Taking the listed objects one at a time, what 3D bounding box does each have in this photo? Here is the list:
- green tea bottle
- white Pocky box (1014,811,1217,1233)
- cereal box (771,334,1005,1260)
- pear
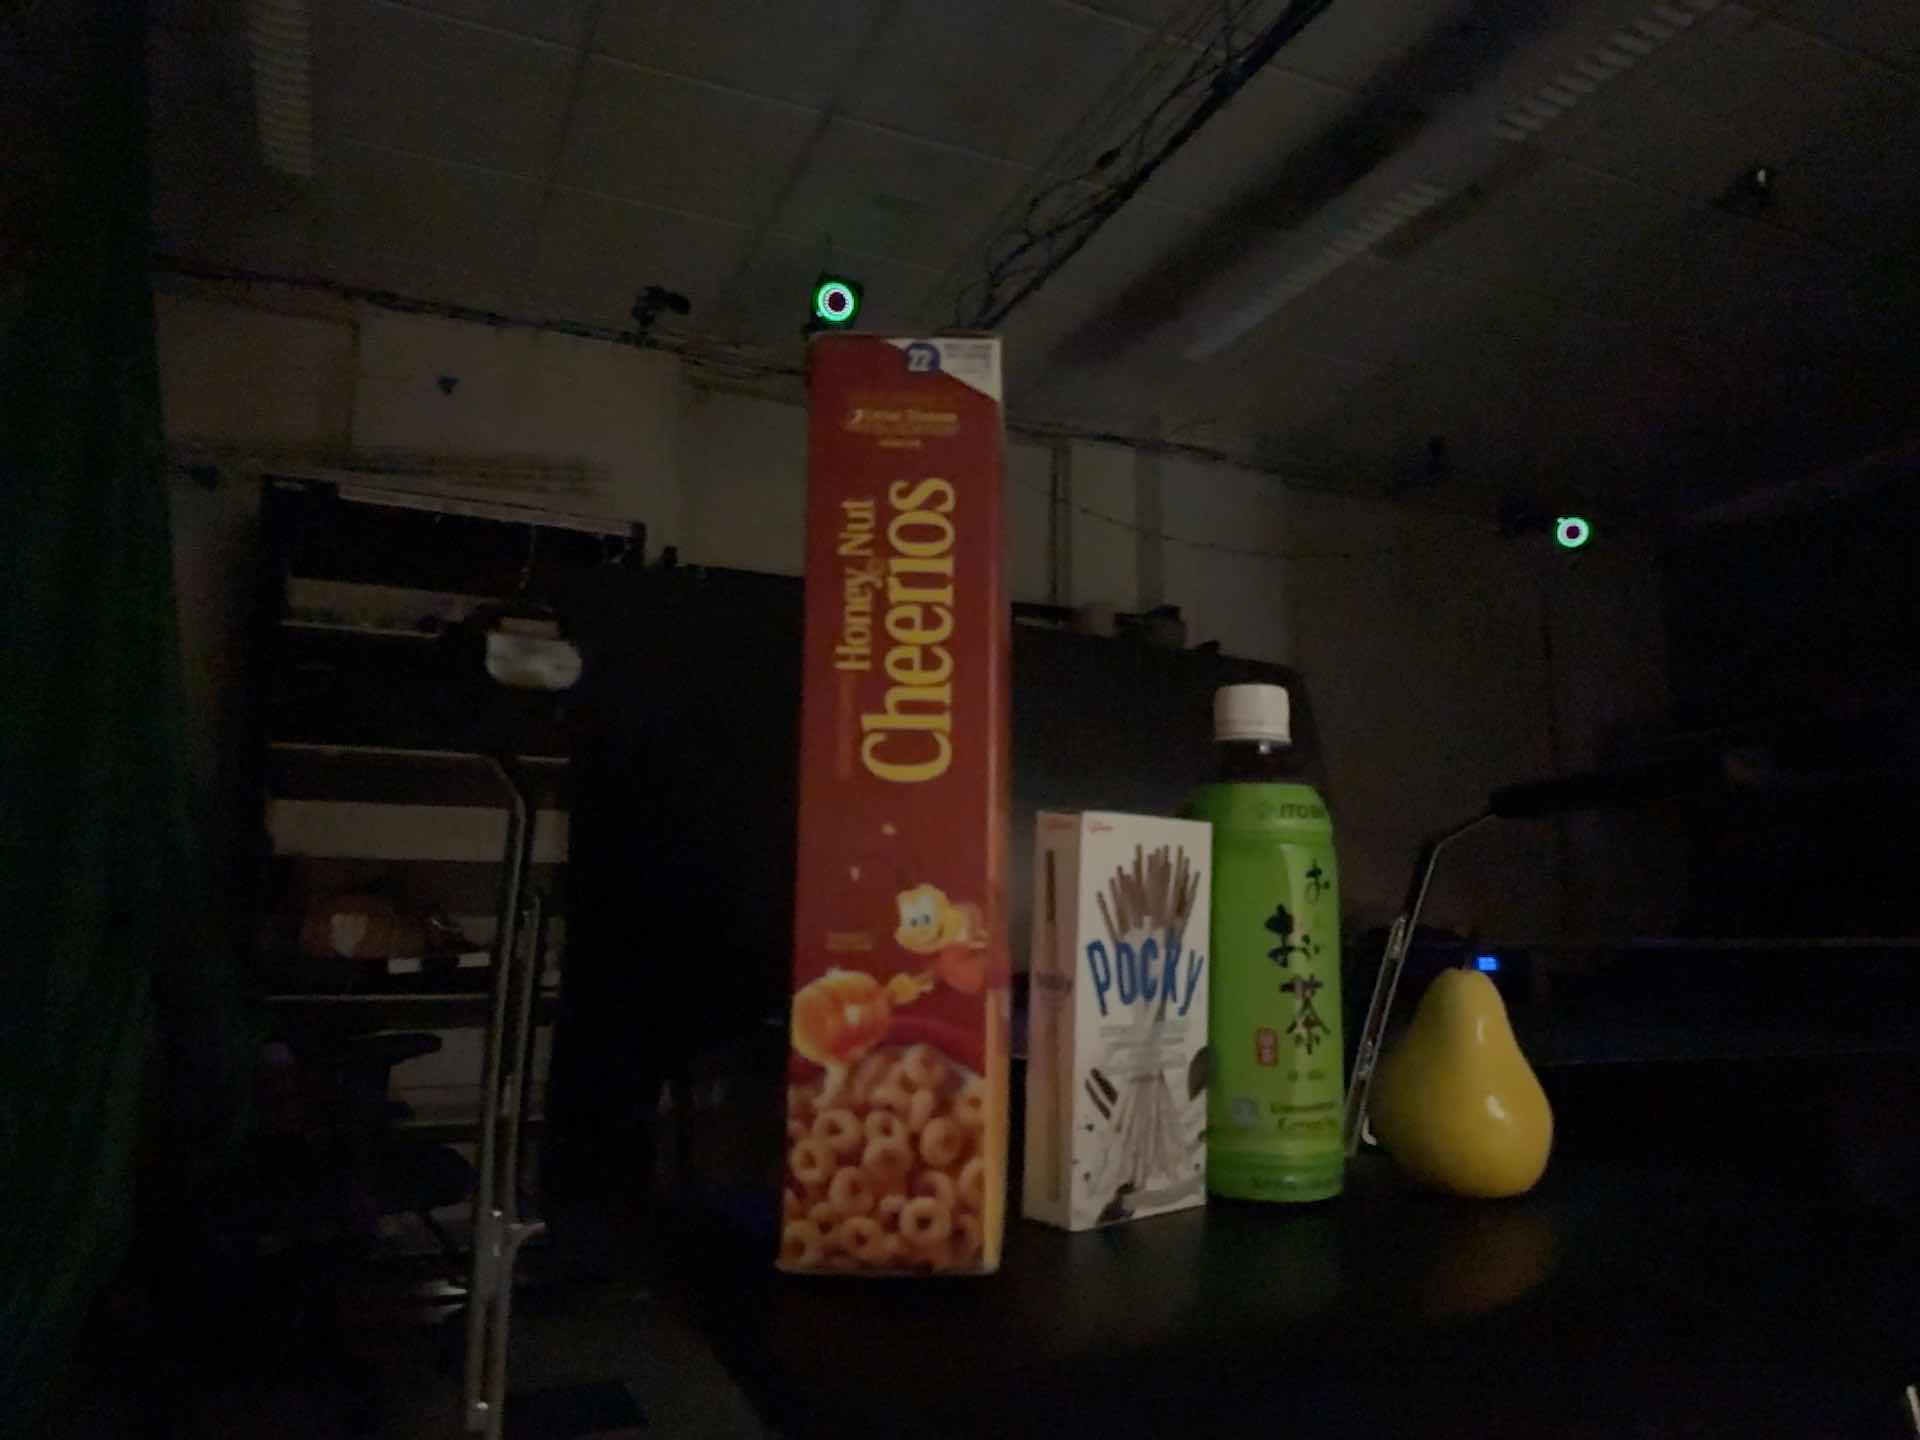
[{"bbox_3d":[0.122,0.091,0.582,0.073,0.212,0.073,-2,-6,0],"label":"green tea bottle"},{"bbox_3d":[0.061,0.114,0.529,0.084,0.154,0.028,7,-4,-42],"label":"white Pocky box"},{"bbox_3d":[-0.025,0.031,0.535,0.065,0.297,0.195,2,-9,-3],"label":"cereal box"},{"bbox_3d":[0.209,0.145,0.591,0.080,0.111,0.080,-4,-11,-1],"label":"pear"}]
